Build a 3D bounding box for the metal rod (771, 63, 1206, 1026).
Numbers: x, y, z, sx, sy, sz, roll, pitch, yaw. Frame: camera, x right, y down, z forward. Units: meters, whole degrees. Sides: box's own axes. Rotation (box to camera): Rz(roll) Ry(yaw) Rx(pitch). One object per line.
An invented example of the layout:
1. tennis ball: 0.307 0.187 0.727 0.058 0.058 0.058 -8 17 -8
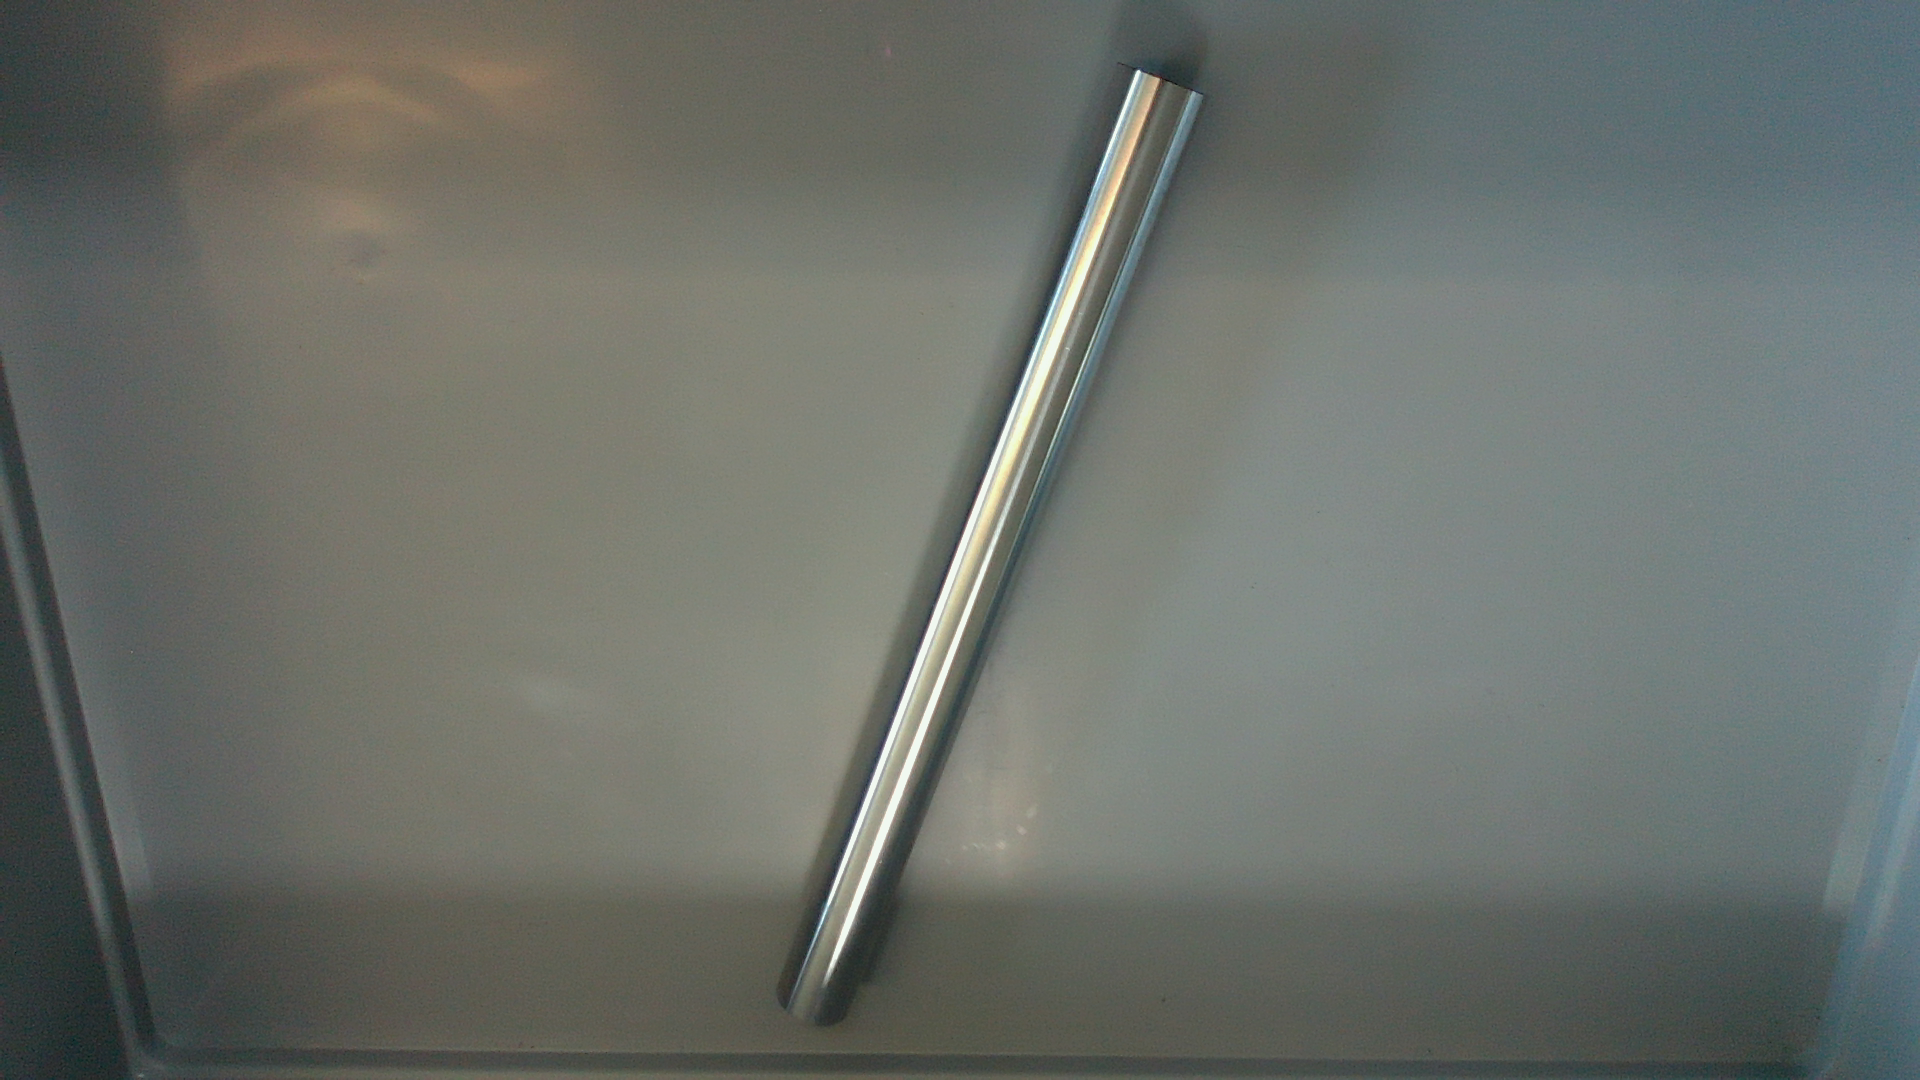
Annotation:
1. metal rod: 0.001 0.016 0.398 0.025 0.025 0.300 18 109 -7
